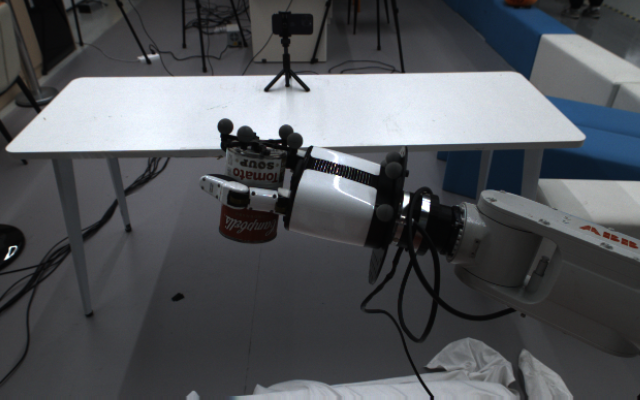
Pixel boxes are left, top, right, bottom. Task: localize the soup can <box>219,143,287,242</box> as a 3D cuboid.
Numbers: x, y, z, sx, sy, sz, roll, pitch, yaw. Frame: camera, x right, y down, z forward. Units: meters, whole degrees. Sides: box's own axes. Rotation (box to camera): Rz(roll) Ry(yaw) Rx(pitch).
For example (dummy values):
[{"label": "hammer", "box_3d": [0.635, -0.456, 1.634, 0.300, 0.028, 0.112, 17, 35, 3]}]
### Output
[{"label": "soup can", "box_3d": [-0.074, -0.010, 0.545, 0.067, 0.101, 0.067, 8, 19, -3]}]
